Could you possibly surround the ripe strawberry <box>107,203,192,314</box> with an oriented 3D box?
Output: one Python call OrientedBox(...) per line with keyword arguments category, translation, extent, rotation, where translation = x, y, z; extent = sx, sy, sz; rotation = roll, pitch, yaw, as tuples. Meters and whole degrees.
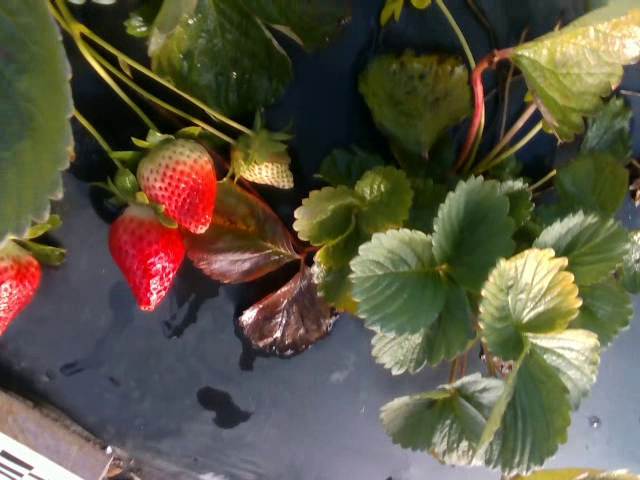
OrientedBox(category="ripe strawberry", translation=(-0.091, 0.011, 0.315), extent=(0.044, 0.055, 0.041), rotation=(-6, -8, 38))
